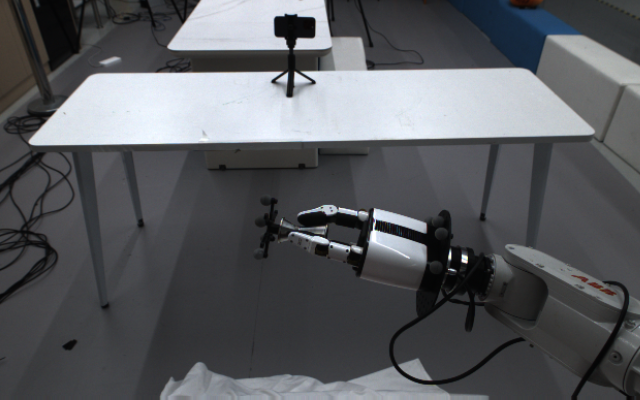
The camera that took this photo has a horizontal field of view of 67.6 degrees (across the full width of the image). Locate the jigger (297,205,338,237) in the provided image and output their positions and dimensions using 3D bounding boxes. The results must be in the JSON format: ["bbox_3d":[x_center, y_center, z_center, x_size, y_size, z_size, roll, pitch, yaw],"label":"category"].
[{"bbox_3d":[-0.017,0.047,0.707,0.071,0.043,0.043,9,35,4],"label":"jigger"}]
